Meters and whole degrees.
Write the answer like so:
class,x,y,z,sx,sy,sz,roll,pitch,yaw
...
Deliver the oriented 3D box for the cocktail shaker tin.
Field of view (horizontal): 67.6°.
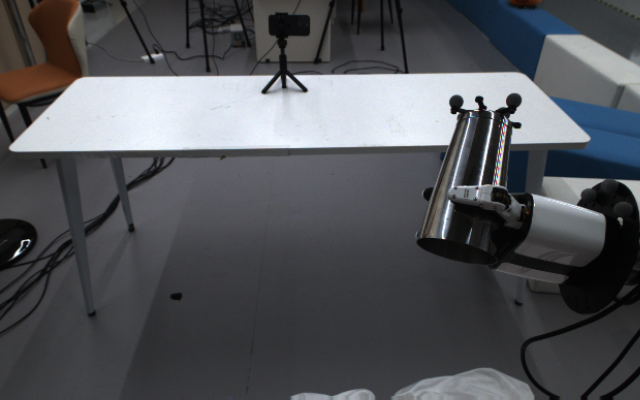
class,x,y,z,sx,sy,sz,roll,pitch,yaw
cocktail shaker tin,0.182,-0.018,0.582,0.093,0.093,0.170,13,74,15
